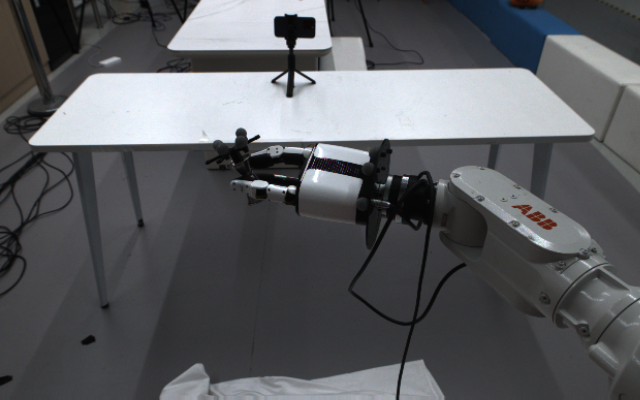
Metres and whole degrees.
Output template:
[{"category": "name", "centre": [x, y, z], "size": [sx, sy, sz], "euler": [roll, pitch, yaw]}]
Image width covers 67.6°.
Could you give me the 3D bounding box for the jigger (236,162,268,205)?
[{"category": "jigger", "centre": [-0.103, -0.032, 0.733], "size": [0.043, 0.071, 0.043], "euler": [-25, 21, 10]}]
